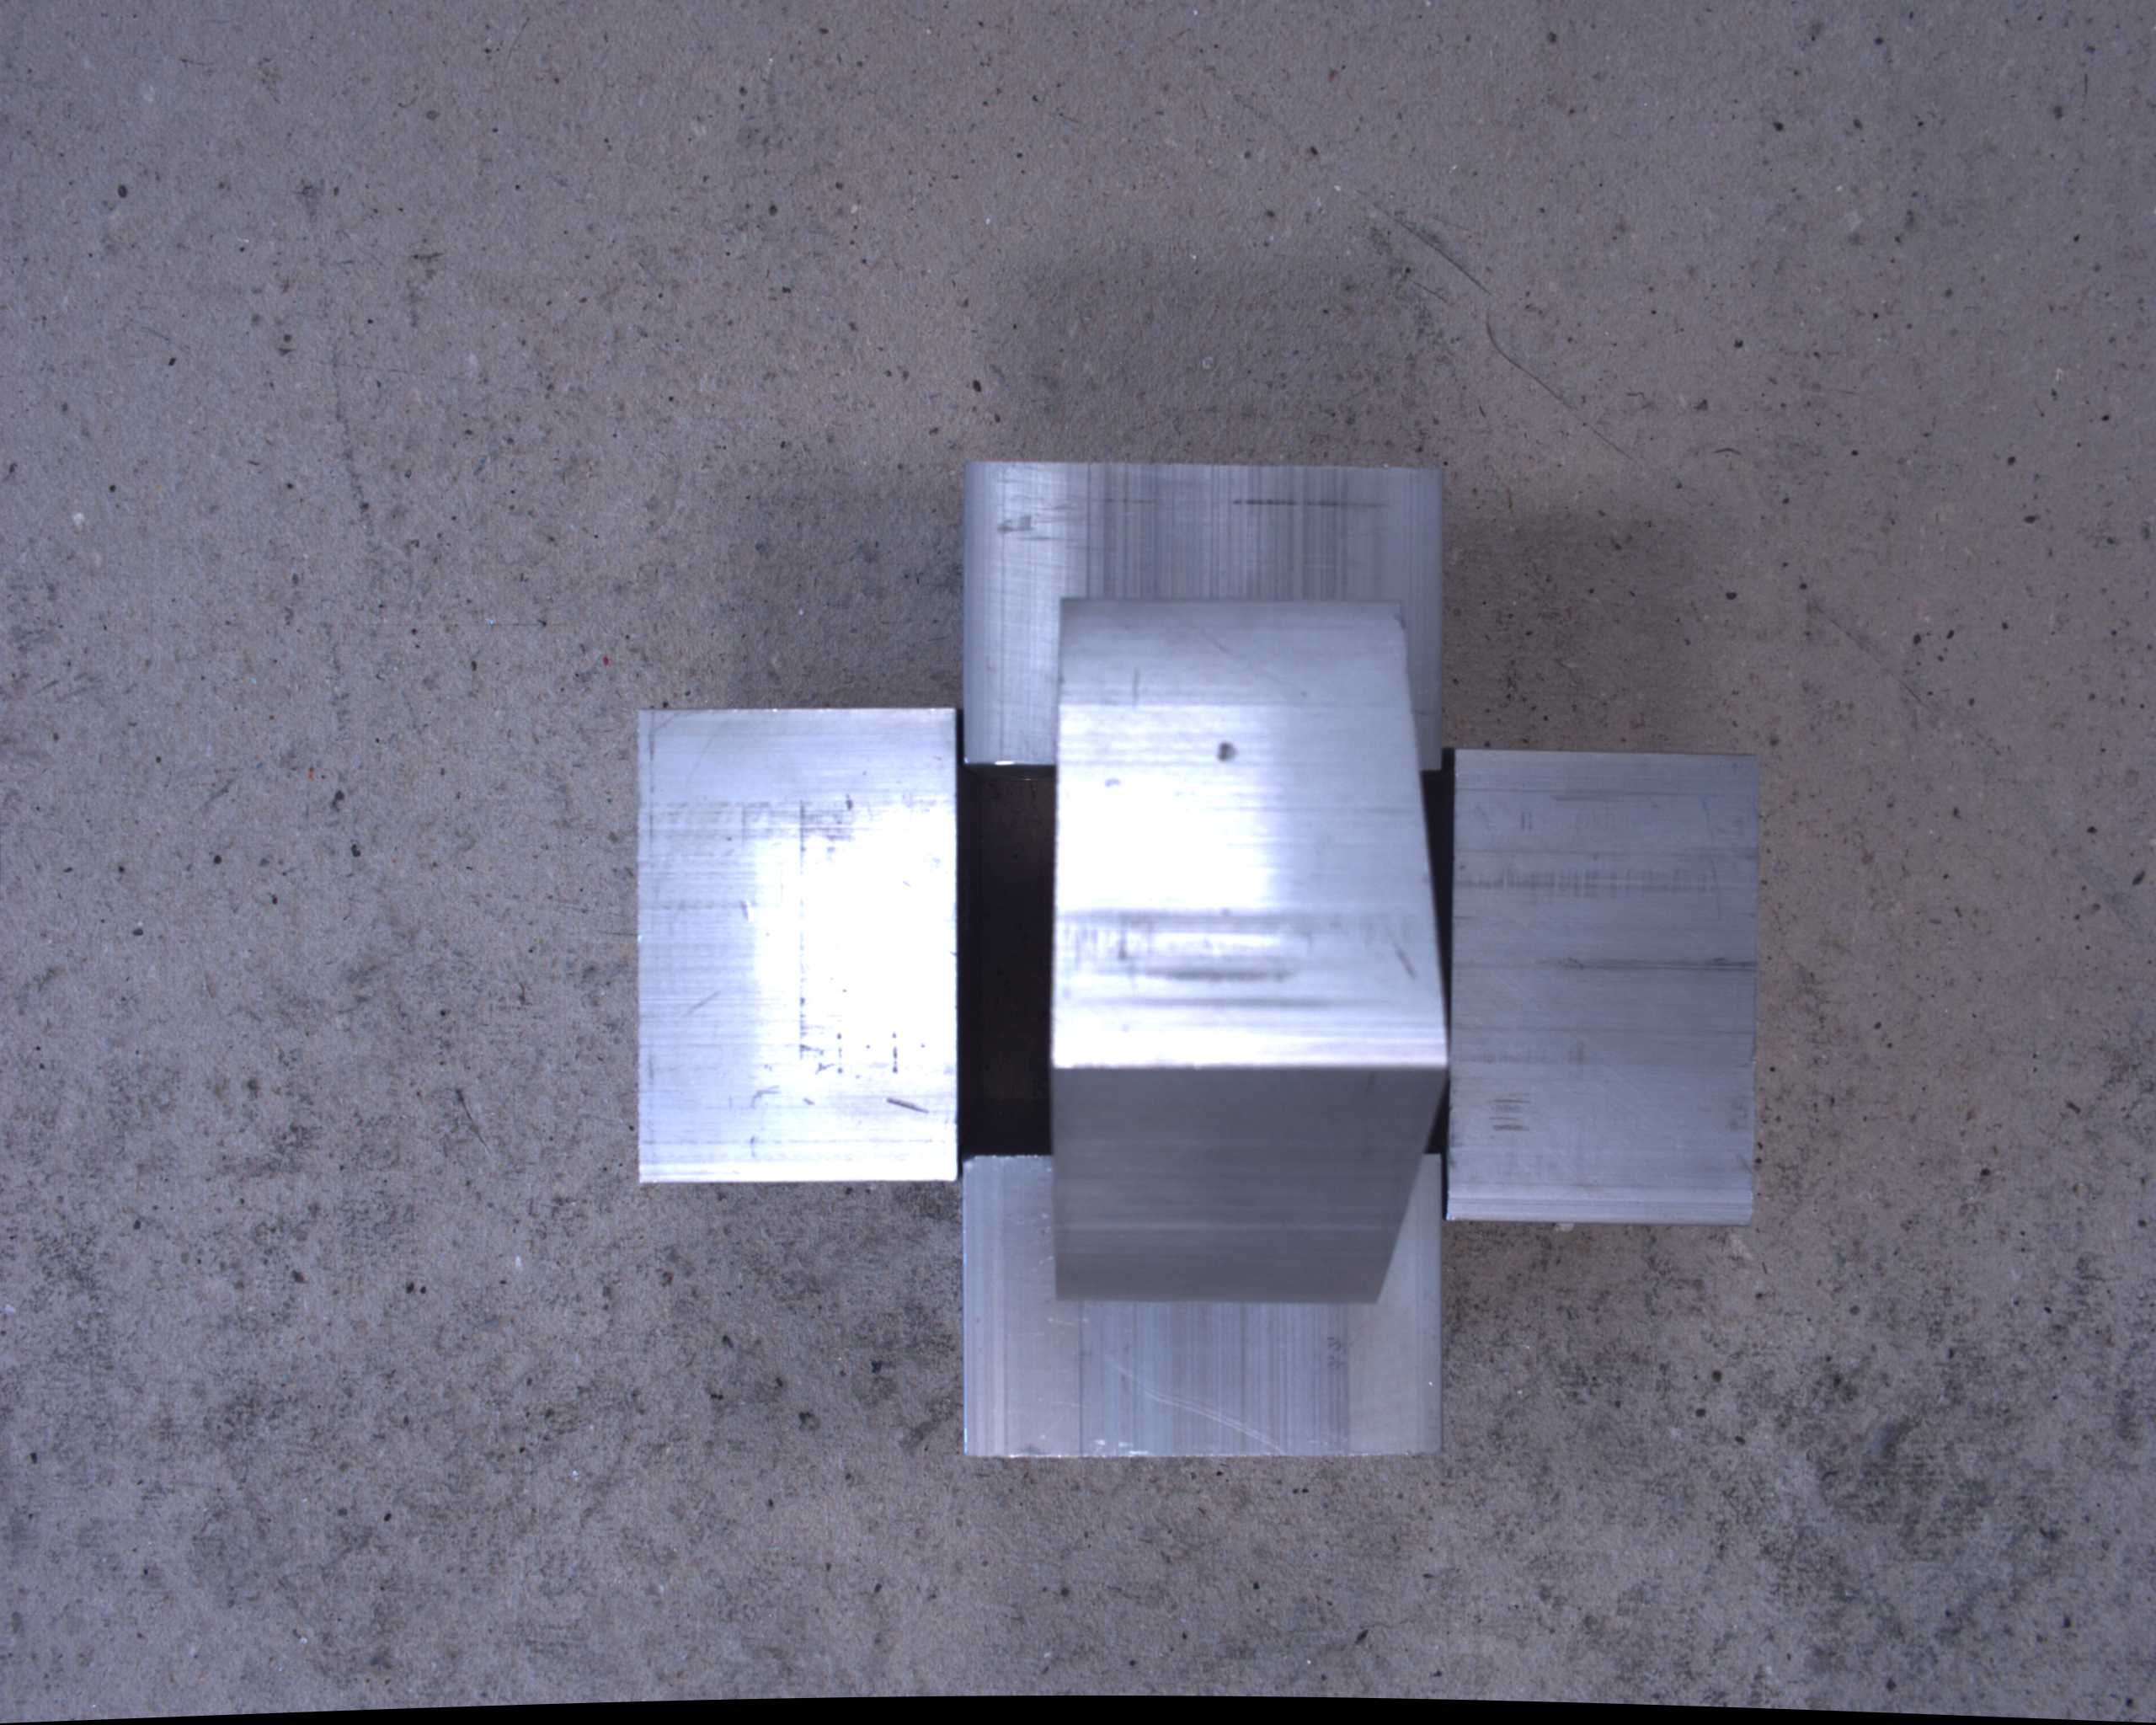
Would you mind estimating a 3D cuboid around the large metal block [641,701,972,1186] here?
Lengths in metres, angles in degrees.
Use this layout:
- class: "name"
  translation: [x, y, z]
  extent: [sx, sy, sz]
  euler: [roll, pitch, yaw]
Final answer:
- class: "large metal block"
  translation: [-0.046, 0.013, 0.382]
  extent: [0.050, 0.080, 0.080]
  euler: [0, 90, 0]

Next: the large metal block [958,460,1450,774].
- class: "large metal block"
  translation: [0.021, -0.041, 0.384]
  extent: [0.081, 0.080, 0.050]
  euler: [1, 91, 0]

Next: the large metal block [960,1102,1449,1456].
- class: "large metal block"
  translation: [0.021, 0.073, 0.384]
  extent: [0.081, 0.080, 0.050]
  euler: [0, 90, 0]

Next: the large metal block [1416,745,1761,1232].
- class: "large metal block"
  translation: [0.087, 0.021, 0.384]
  extent: [0.050, 0.080, 0.080]
  euler: [1, 90, 0]

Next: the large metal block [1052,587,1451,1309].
- class: "large metal block"
  translation: [0.022, 0.015, 0.318]
  extent: [0.050, 0.080, 0.080]
  euler: [1, 56, 0]
